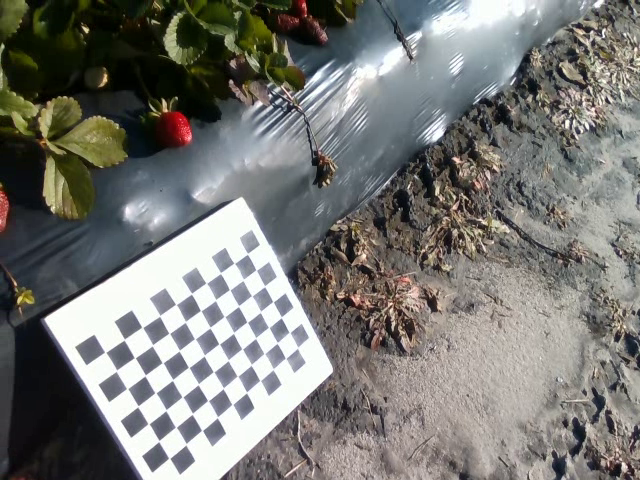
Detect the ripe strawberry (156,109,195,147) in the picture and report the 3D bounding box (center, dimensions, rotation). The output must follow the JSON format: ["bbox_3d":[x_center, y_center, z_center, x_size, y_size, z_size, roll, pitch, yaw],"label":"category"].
[{"bbox_3d":[-0.154,-0.114,0.746,0.043,0.043,0.050,9,29,-42],"label":"ripe strawberry"}]
